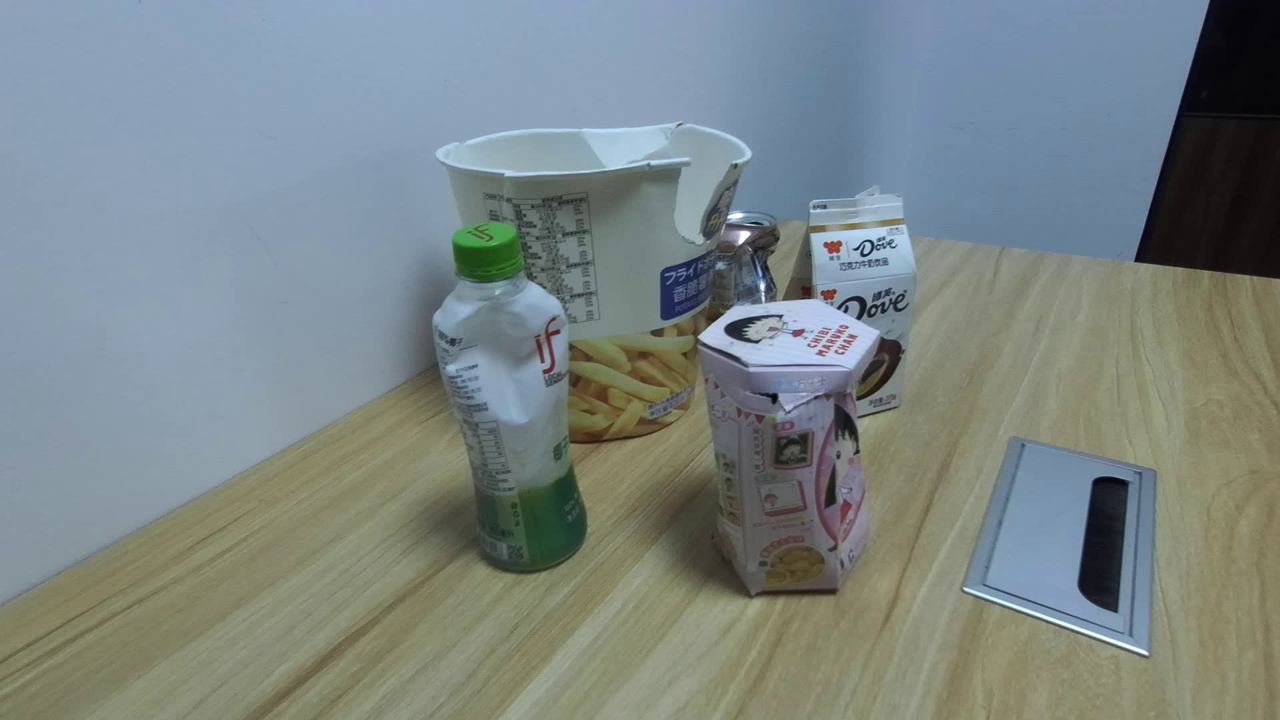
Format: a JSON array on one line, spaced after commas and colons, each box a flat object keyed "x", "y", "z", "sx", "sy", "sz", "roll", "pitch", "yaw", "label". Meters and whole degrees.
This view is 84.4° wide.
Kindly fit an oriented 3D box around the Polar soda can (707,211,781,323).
[{"x": 0.088, "y": -0.071, "z": 0.613, "sx": 0.070, "sy": 0.114, "sz": 0.074, "roll": -2, "pitch": 29, "yaw": -10, "label": "Polar soda can"}]

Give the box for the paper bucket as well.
[{"x": -0.030, "y": -0.059, "z": 0.511, "sx": 0.203, "sy": 0.197, "sz": 0.145, "roll": -6, "pitch": 29, "yaw": -2, "label": "paper bucket"}]

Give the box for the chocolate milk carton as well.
[{"x": 0.140, "y": -0.041, "z": 0.504, "sx": 0.084, "sy": 0.155, "sz": 0.072, "roll": -13, "pitch": 31, "yaw": -16, "label": "chocolate milk carton"}]

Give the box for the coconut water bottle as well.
[{"x": -0.068, "y": 0.021, "z": 0.375, "sx": 0.069, "sy": 0.187, "sz": 0.069, "roll": -2, "pitch": 27, "yaw": 1, "label": "coconut water bottle"}]

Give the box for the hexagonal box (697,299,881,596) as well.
[{"x": 0.075, "y": 0.046, "z": 0.371, "sx": 0.091, "sy": 0.134, "sz": 0.090, "roll": -11, "pitch": 26, "yaw": -13, "label": "hexagonal box"}]
